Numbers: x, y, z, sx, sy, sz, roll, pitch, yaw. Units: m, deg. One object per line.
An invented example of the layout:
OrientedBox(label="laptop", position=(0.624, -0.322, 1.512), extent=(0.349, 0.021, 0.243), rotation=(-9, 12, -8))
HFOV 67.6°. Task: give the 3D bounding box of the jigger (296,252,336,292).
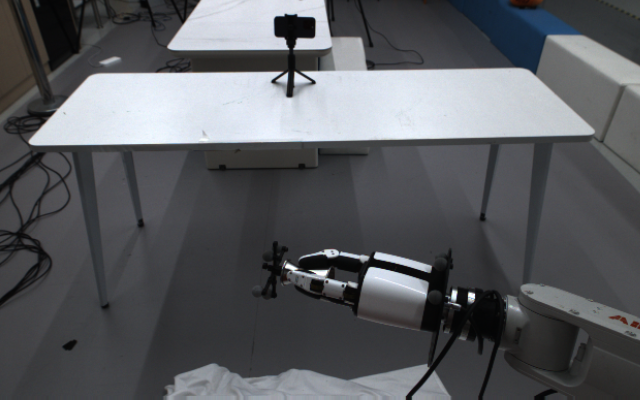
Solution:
OrientedBox(label="jigger", position=(-0.011, 0.104, 0.685), extent=(0.071, 0.043, 0.043), rotation=(8, 35, 16))
